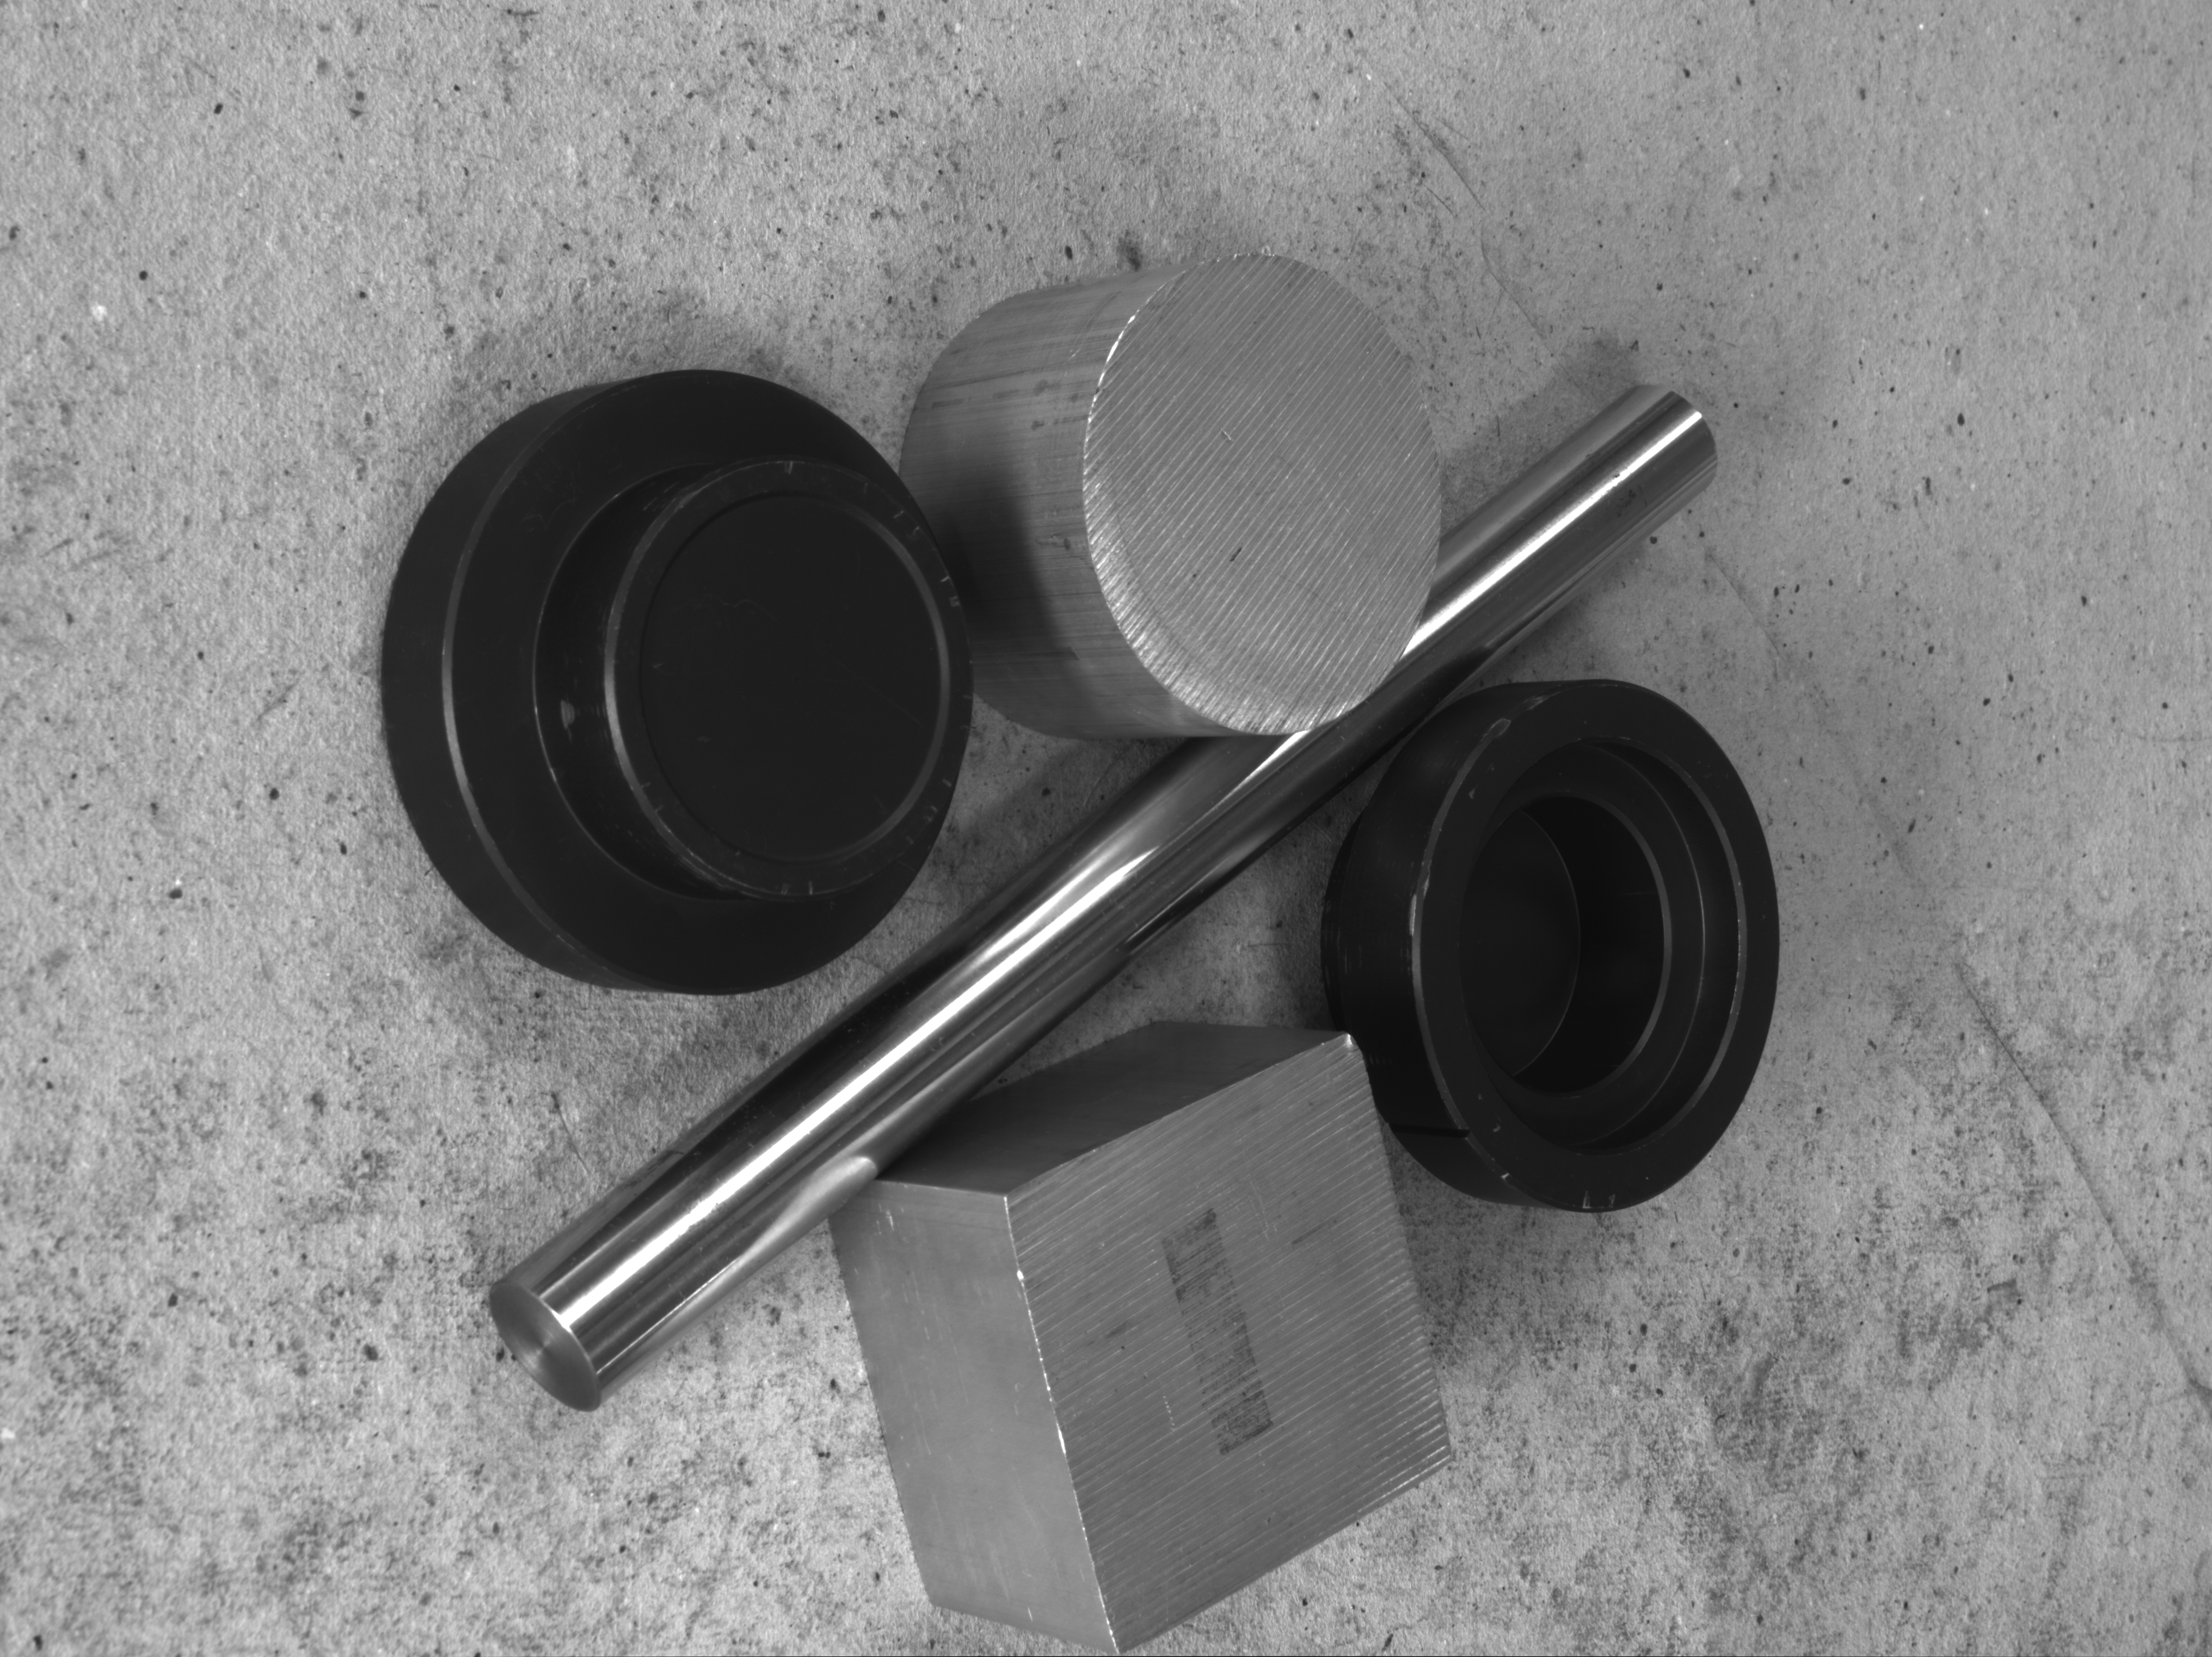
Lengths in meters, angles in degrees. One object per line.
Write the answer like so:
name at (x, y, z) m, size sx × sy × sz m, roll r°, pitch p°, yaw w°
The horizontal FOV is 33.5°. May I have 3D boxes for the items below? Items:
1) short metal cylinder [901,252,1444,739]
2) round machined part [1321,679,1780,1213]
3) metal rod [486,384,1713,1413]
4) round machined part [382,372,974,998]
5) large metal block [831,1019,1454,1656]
short metal cylinder at (0.012, -0.056, 0.629) m, size 0.080 × 0.050 × 0.080 m, roll 0°, pitch 90°, yaw -40°
round machined part at (0.079, 0.022, 0.691) m, size 0.098 × 0.042 × 0.098 m, roll 0°, pitch 90°, yaw -40°
metal rod at (0.012, 0.001, 0.647) m, size 0.301 × 0.025 × 0.025 m, roll -39°, pitch 113°, yaw -33°
round machined part at (-0.060, -0.022, 0.576) m, size 0.098 × 0.042 × 0.098 m, roll 0°, pitch 90°, yaw -40°
large metal block at (0.006, 0.084, 0.626) m, size 0.080 × 0.050 × 0.080 m, roll -22°, pitch 104°, yaw -38°
